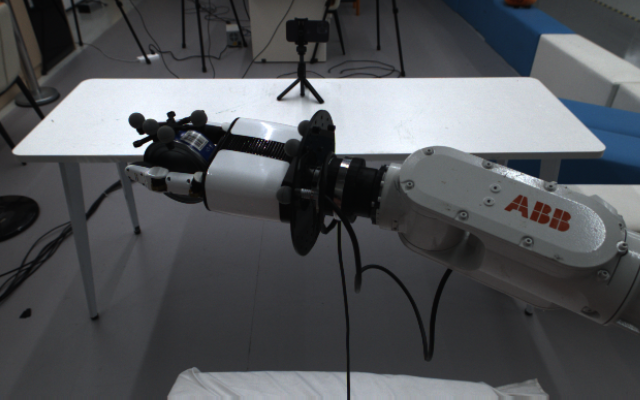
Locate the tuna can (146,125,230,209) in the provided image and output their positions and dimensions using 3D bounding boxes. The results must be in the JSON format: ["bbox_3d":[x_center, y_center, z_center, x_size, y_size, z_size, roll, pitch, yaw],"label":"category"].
[{"bbox_3d":[-0.154,-0.039,0.557,0.085,0.085,0.034,11,38,12],"label":"tuna can"}]
